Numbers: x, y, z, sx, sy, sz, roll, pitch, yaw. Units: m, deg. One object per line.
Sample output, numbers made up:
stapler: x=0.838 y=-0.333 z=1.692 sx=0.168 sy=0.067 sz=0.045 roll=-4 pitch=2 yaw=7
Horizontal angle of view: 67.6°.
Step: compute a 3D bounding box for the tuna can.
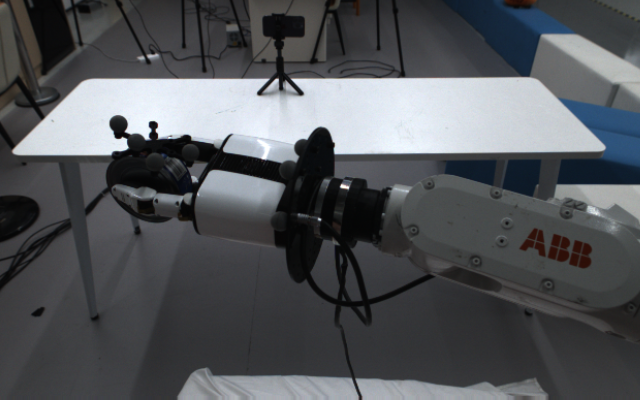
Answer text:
tuna can: x=-0.182 y=-0.014 z=0.524 sx=0.085 sy=0.085 sz=0.034 roll=9 pitch=35 yaw=10
